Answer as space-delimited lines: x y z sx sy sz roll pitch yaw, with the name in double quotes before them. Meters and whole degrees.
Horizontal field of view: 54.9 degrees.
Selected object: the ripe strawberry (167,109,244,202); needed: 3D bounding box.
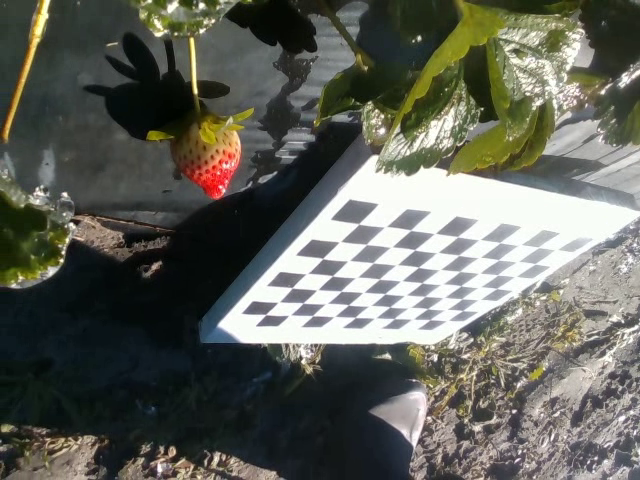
"ripe strawberry" -0.055 -0.041 0.307 0.039 0.053 0.041 -6 44 -14
